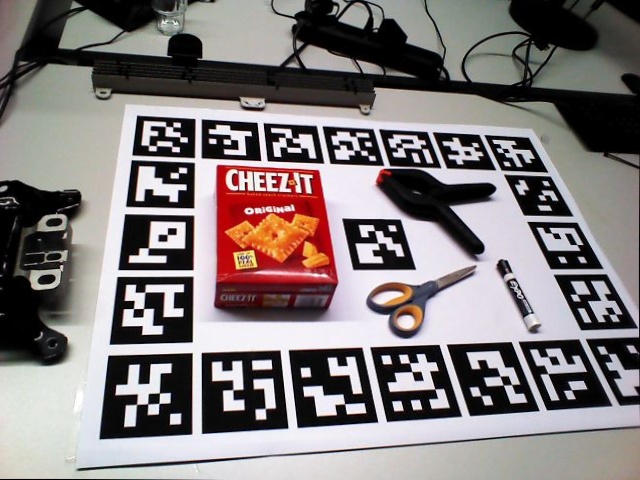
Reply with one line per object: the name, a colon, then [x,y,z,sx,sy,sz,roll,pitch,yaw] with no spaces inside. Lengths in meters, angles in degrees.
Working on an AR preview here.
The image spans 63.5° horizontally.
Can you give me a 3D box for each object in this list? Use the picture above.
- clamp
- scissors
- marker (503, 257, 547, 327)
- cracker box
clamp: [0.194,-0.072,0.891,0.203,0.037,0.164,24,49,7]
scissors: [0.169,0.071,0.762,0.201,0.016,0.088,-24,58,-31]
marker: [0.309,0.075,0.787,0.019,0.020,0.120,-3,51,-14]
cracker box: [-0.065,-0.011,0.746,0.164,0.072,0.212,1,51,-11]
